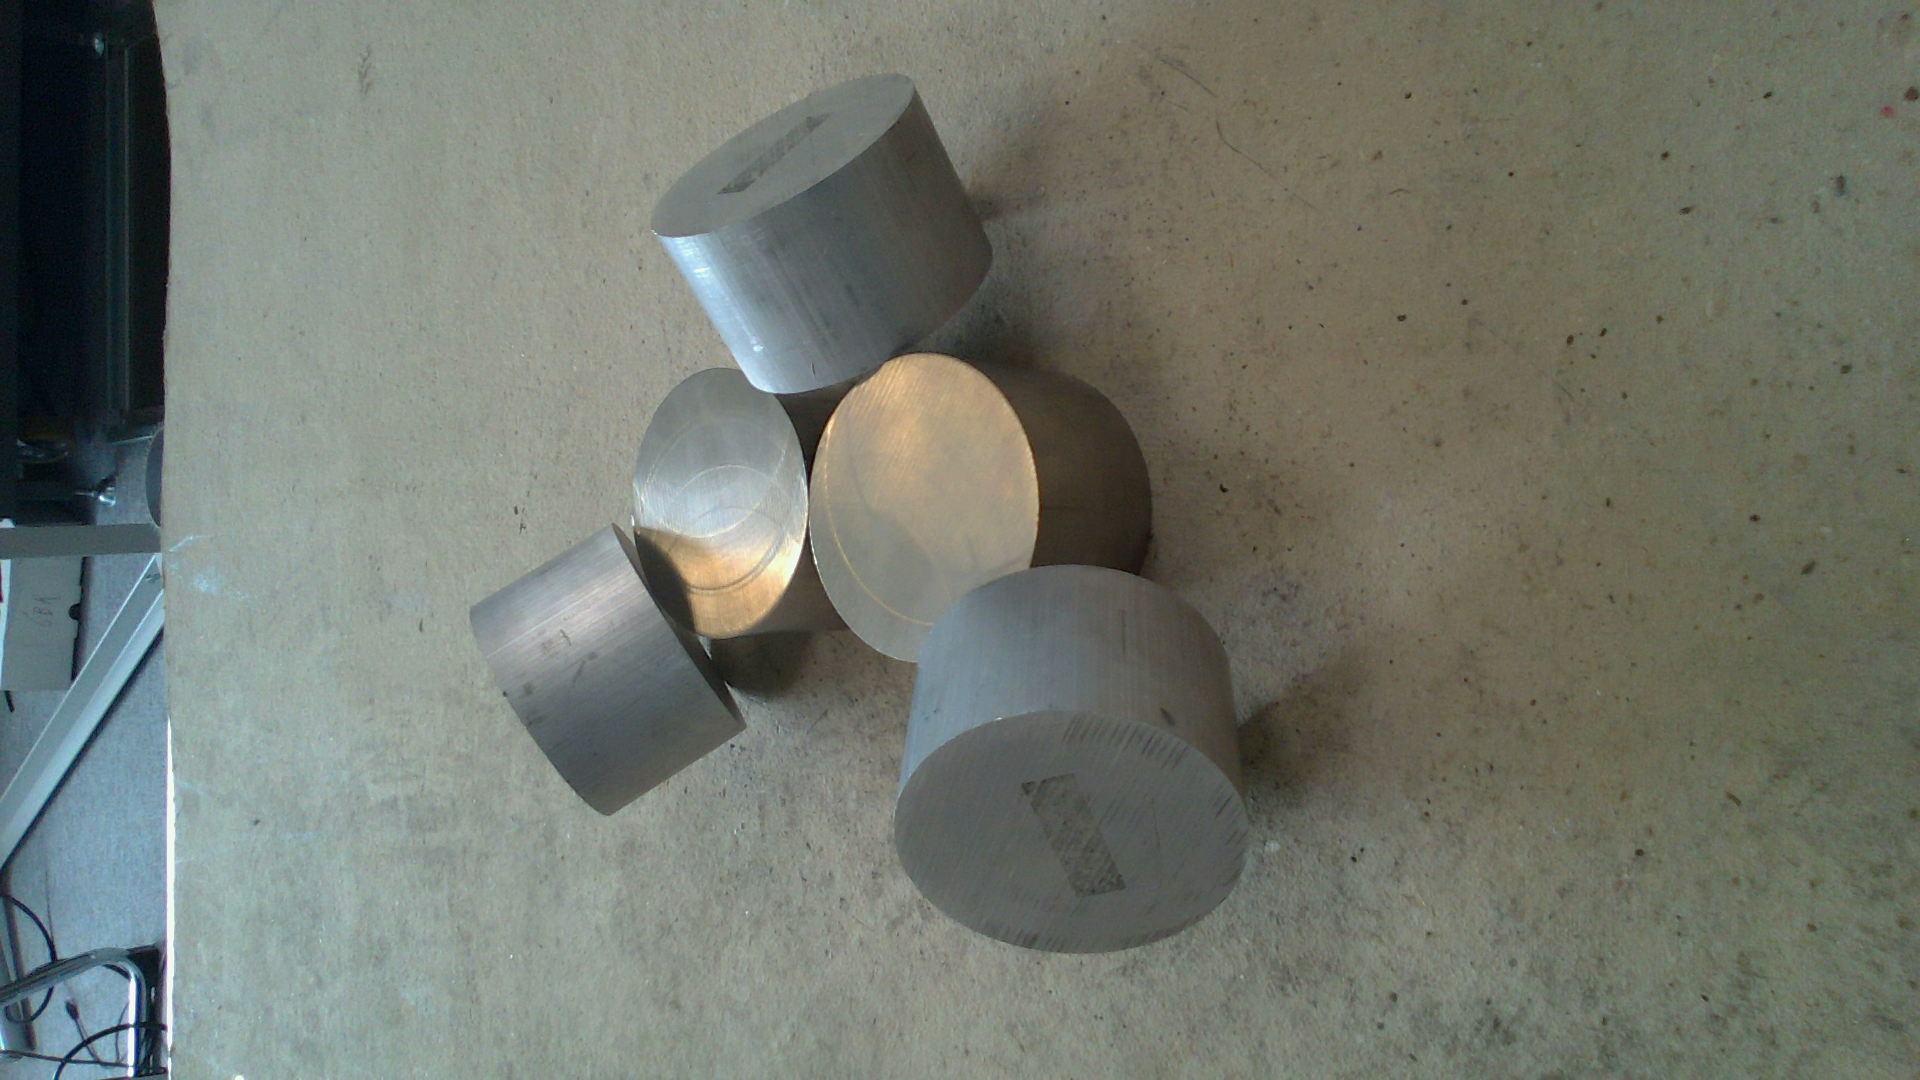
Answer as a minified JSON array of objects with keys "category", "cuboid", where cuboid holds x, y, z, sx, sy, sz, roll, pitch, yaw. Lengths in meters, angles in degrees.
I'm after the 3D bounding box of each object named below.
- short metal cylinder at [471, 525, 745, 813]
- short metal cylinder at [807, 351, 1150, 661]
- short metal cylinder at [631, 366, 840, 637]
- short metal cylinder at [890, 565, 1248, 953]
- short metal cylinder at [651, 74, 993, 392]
[{"category":"short metal cylinder","cuboid":[-0.113,0.041,0.446,0.050,0.080,0.080,-32,63,-8]},{"category":"short metal cylinder","cuboid":[0.004,-0.009,0.375,0.080,0.050,0.080,0,89,40]},{"category":"short metal cylinder","cuboid":[-0.057,-0.011,0.426,0.080,0.050,0.080,0,89,40]},{"category":"short metal cylinder","cuboid":[0.026,0.053,0.329,0.080,0.080,0.050,-45,22,31]},{"category":"short metal cylinder","cuboid":[-0.038,-0.086,0.383,0.080,0.080,0.050,2,134,40]}]
